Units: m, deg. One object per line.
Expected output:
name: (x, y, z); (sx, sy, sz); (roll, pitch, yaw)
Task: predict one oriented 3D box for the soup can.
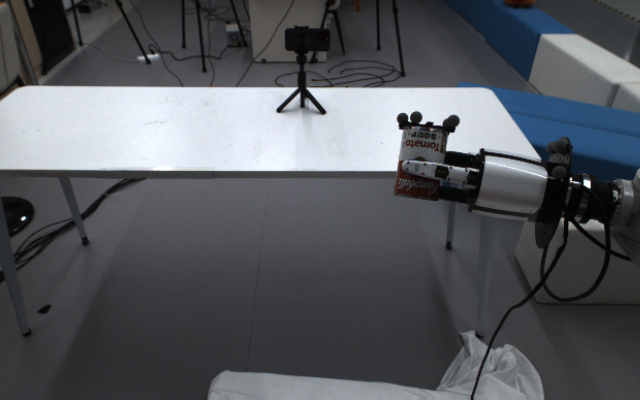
soup can: (0.150, -0.055, 0.719); (0.067, 0.101, 0.067); (7, 4, 0)
